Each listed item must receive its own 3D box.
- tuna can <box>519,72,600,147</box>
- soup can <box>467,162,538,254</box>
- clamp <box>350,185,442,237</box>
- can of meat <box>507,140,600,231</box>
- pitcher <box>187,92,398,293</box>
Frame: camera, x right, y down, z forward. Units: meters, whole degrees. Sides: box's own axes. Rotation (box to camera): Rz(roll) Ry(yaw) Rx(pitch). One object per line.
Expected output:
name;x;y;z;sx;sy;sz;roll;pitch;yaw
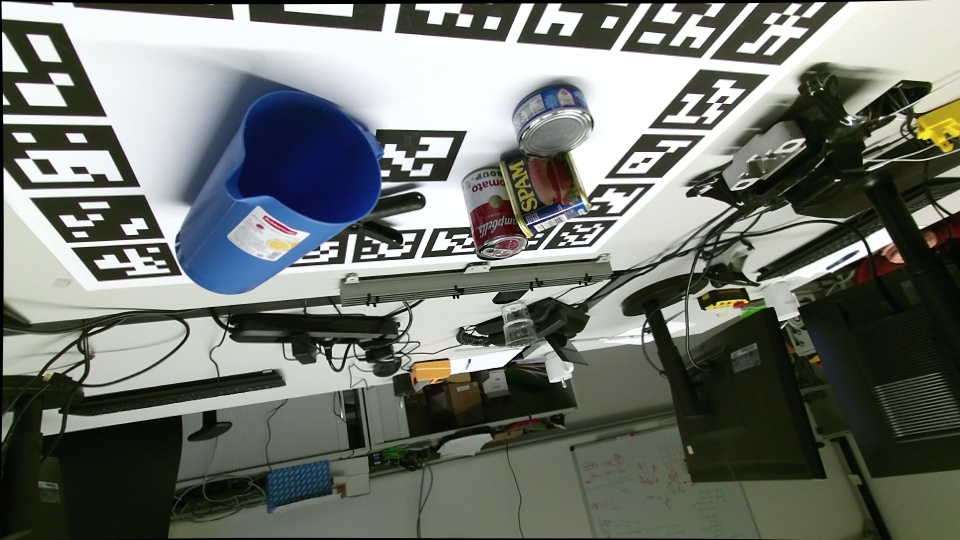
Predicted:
tuna can;0.088;-0.179;0.603;0.086;0.033;0.086;-12;155;-6
soup can;0.028;-0.082;0.708;0.068;0.101;0.068;-15;156;-7
clamp;-0.145;-0.079;0.721;0.166;0.036;0.122;-1;158;-20
can of meat;0.092;-0.112;0.664;0.084;0.101;0.058;-23;154;12
pitcher;-0.207;-0.065;0.564;0.243;0.133;0.189;-27;176;43
